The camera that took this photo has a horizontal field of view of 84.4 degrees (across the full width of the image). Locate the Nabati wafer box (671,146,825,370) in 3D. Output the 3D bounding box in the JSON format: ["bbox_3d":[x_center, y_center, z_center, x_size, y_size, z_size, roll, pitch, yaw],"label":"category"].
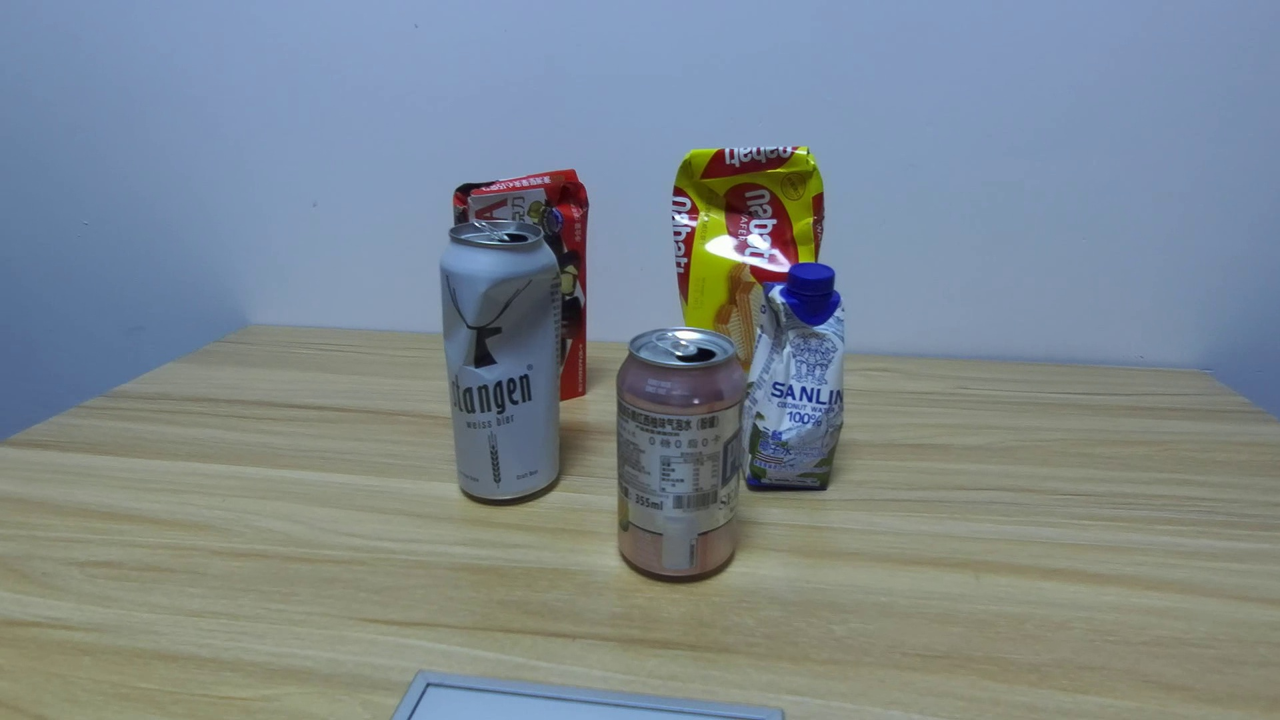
[{"bbox_3d":[0.080,-0.055,0.538,0.113,0.205,0.042,2,19,8],"label":"Nabati wafer box"}]

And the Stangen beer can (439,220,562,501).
[{"bbox_3d":[-0.084,0.002,0.438,0.070,0.173,0.069,2,21,4],"label":"Stangen beer can"}]

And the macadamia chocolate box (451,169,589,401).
[{"bbox_3d":[-0.087,-0.050,0.551,0.103,0.187,0.027,-13,29,-29],"label":"macadamia chocolate box"}]

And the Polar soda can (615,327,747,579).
[{"bbox_3d":[0.021,0.049,0.377,0.067,0.125,0.067,1,20,0],"label":"Polar soda can"}]

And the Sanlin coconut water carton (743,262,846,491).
[{"bbox_3d":[0.104,0.009,0.462,0.057,0.144,0.068,5,12,-5],"label":"Sanlin coconut water carton"}]
